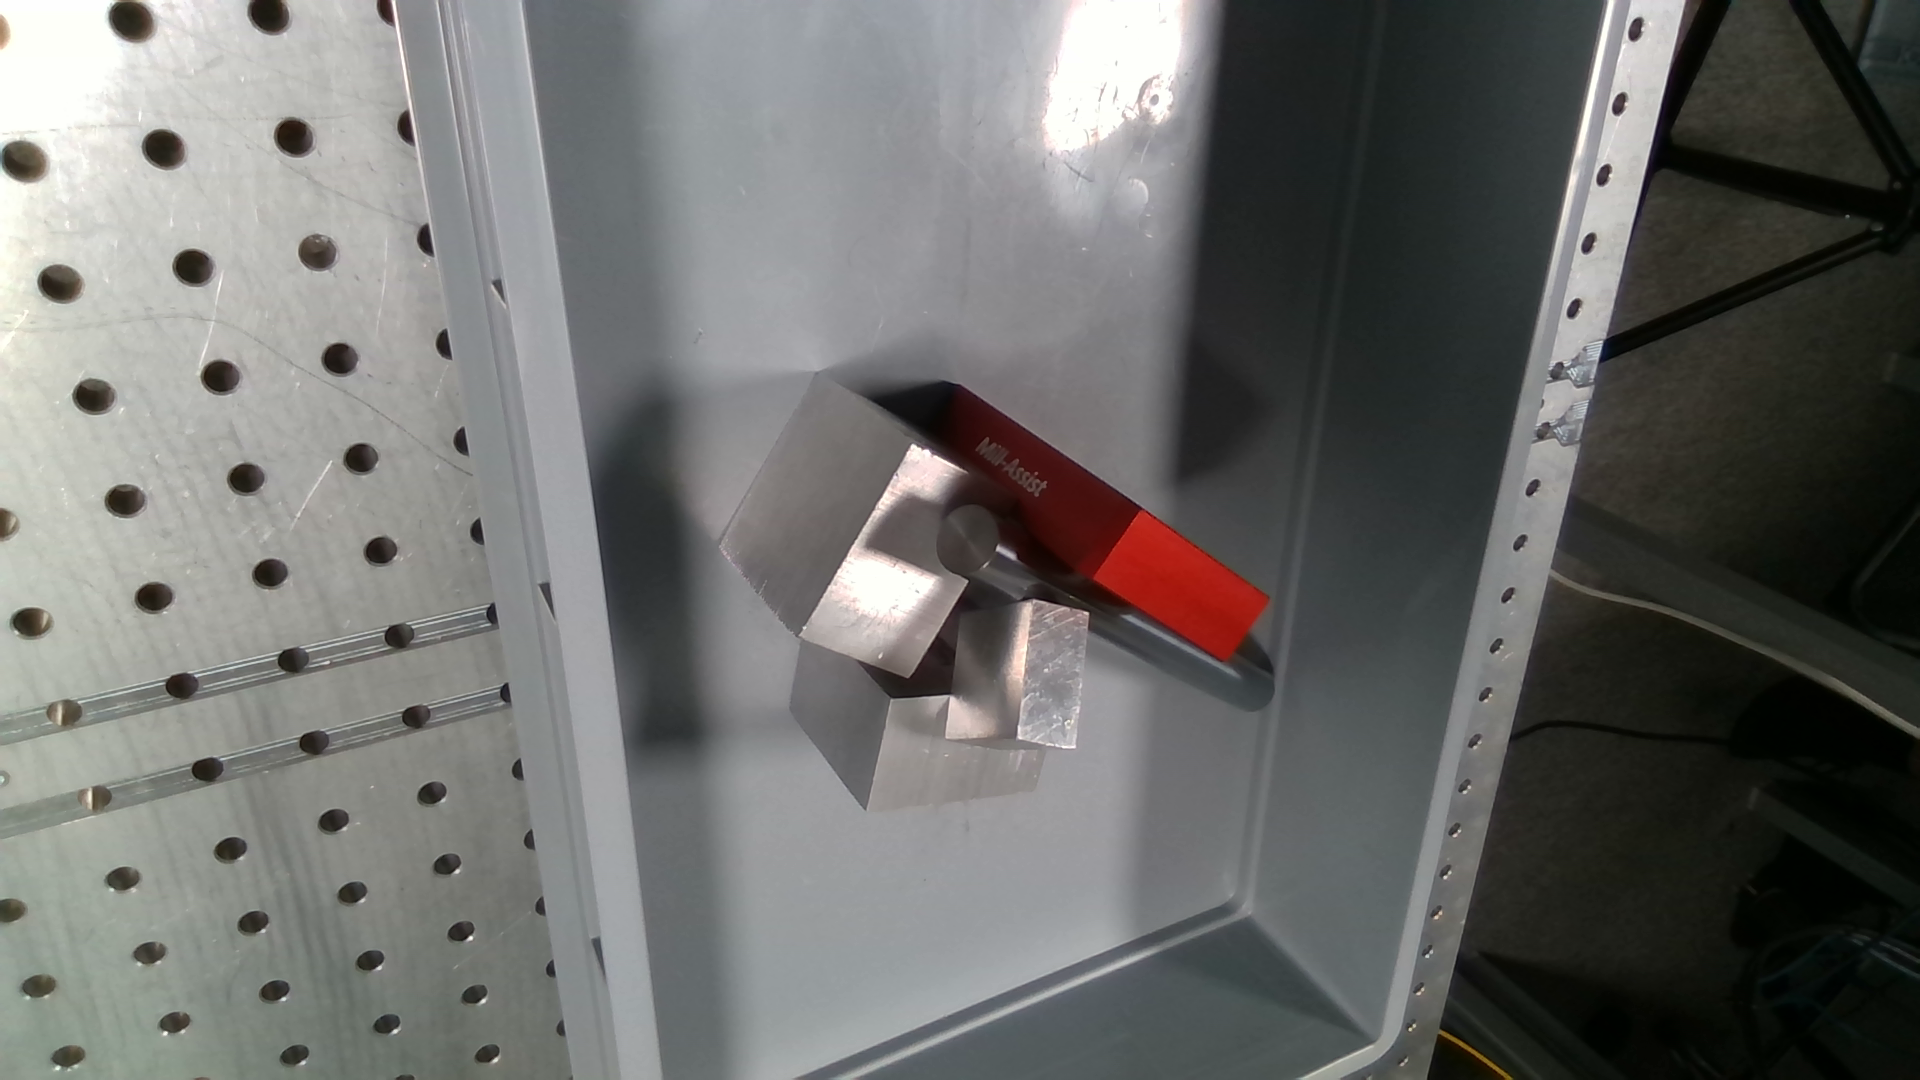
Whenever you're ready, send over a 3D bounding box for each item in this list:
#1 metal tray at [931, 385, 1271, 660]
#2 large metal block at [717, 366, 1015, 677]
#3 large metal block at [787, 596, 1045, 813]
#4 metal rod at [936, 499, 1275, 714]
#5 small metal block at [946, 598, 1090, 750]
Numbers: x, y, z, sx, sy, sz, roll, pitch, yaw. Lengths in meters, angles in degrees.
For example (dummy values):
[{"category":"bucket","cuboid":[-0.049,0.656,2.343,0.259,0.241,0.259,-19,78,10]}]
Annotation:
[{"category":"metal tray","cuboid":[0.049,-0.009,0.537,0.090,0.130,0.030,31,96,-38]},{"category":"large metal block","cuboid":[-0.038,-0.008,0.519,0.050,0.080,0.080,26,100,-38]},{"category":"large metal block","cuboid":[-0.017,0.065,0.570,0.080,0.080,0.050,-1,115,-31]},{"category":"metal rod","cuboid":[0.077,0.039,0.590,0.025,0.025,0.301,-54,146,5]},{"category":"small metal block","cuboid":[0.021,0.051,0.508,0.025,0.050,0.050,15,75,-28]}]
